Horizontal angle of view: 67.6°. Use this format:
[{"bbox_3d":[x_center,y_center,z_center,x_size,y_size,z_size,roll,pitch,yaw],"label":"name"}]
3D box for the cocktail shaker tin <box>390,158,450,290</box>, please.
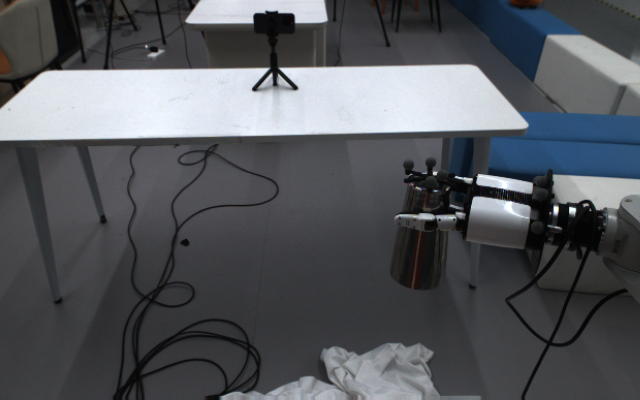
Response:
[{"bbox_3d":[0.169,0.046,0.788,0.093,0.170,0.093,1,27,-1],"label":"cocktail shaker tin"}]
